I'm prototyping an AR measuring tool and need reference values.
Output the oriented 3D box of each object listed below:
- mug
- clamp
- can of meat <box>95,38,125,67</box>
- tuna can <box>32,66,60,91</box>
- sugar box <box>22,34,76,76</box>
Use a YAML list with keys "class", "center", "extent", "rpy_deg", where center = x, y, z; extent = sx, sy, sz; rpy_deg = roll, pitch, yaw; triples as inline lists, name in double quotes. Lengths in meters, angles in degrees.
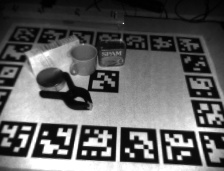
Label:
- class: "mug"
  center: [-0.113, -0.087, 0.725]
  extent: [0.092, 0.082, 0.117]
  rpy_deg: [24, 56, 14]
- class: "clamp"
  center: [-0.139, 0.031, 0.670]
  extent: [0.164, 0.036, 0.122]
  rpy_deg: [35, 53, 16]
- class: "can of meat"
  center: [-0.011, -0.115, 0.765]
  extent: [0.102, 0.084, 0.057]
  rpy_deg: [-3, 50, -7]
- class: "tuna can"
  center: [-0.213, -0.020, 0.699]
  extent: [0.086, 0.034, 0.085]
  rpy_deg: [2, 53, -2]
- class: "sugar box"
  center: [-0.205, -0.102, 0.735]
  extent: [0.178, 0.093, 0.045]
  rpy_deg: [-27, 56, -25]
